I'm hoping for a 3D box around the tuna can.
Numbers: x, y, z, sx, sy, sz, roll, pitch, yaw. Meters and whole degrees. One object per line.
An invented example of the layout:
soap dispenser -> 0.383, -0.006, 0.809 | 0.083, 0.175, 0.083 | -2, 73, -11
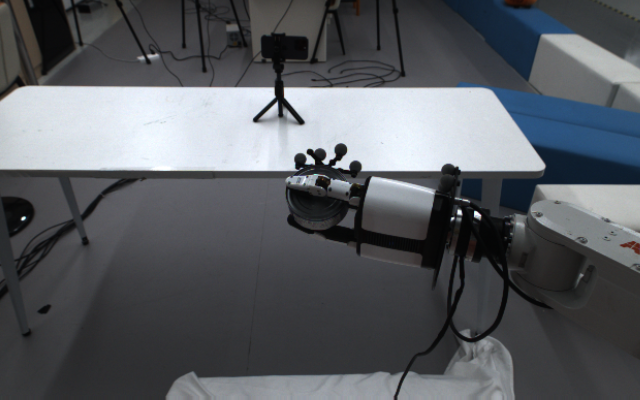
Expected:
tuna can -> -0.002, -0.005, 0.652 | 0.085, 0.034, 0.085 | -2, 58, 3
